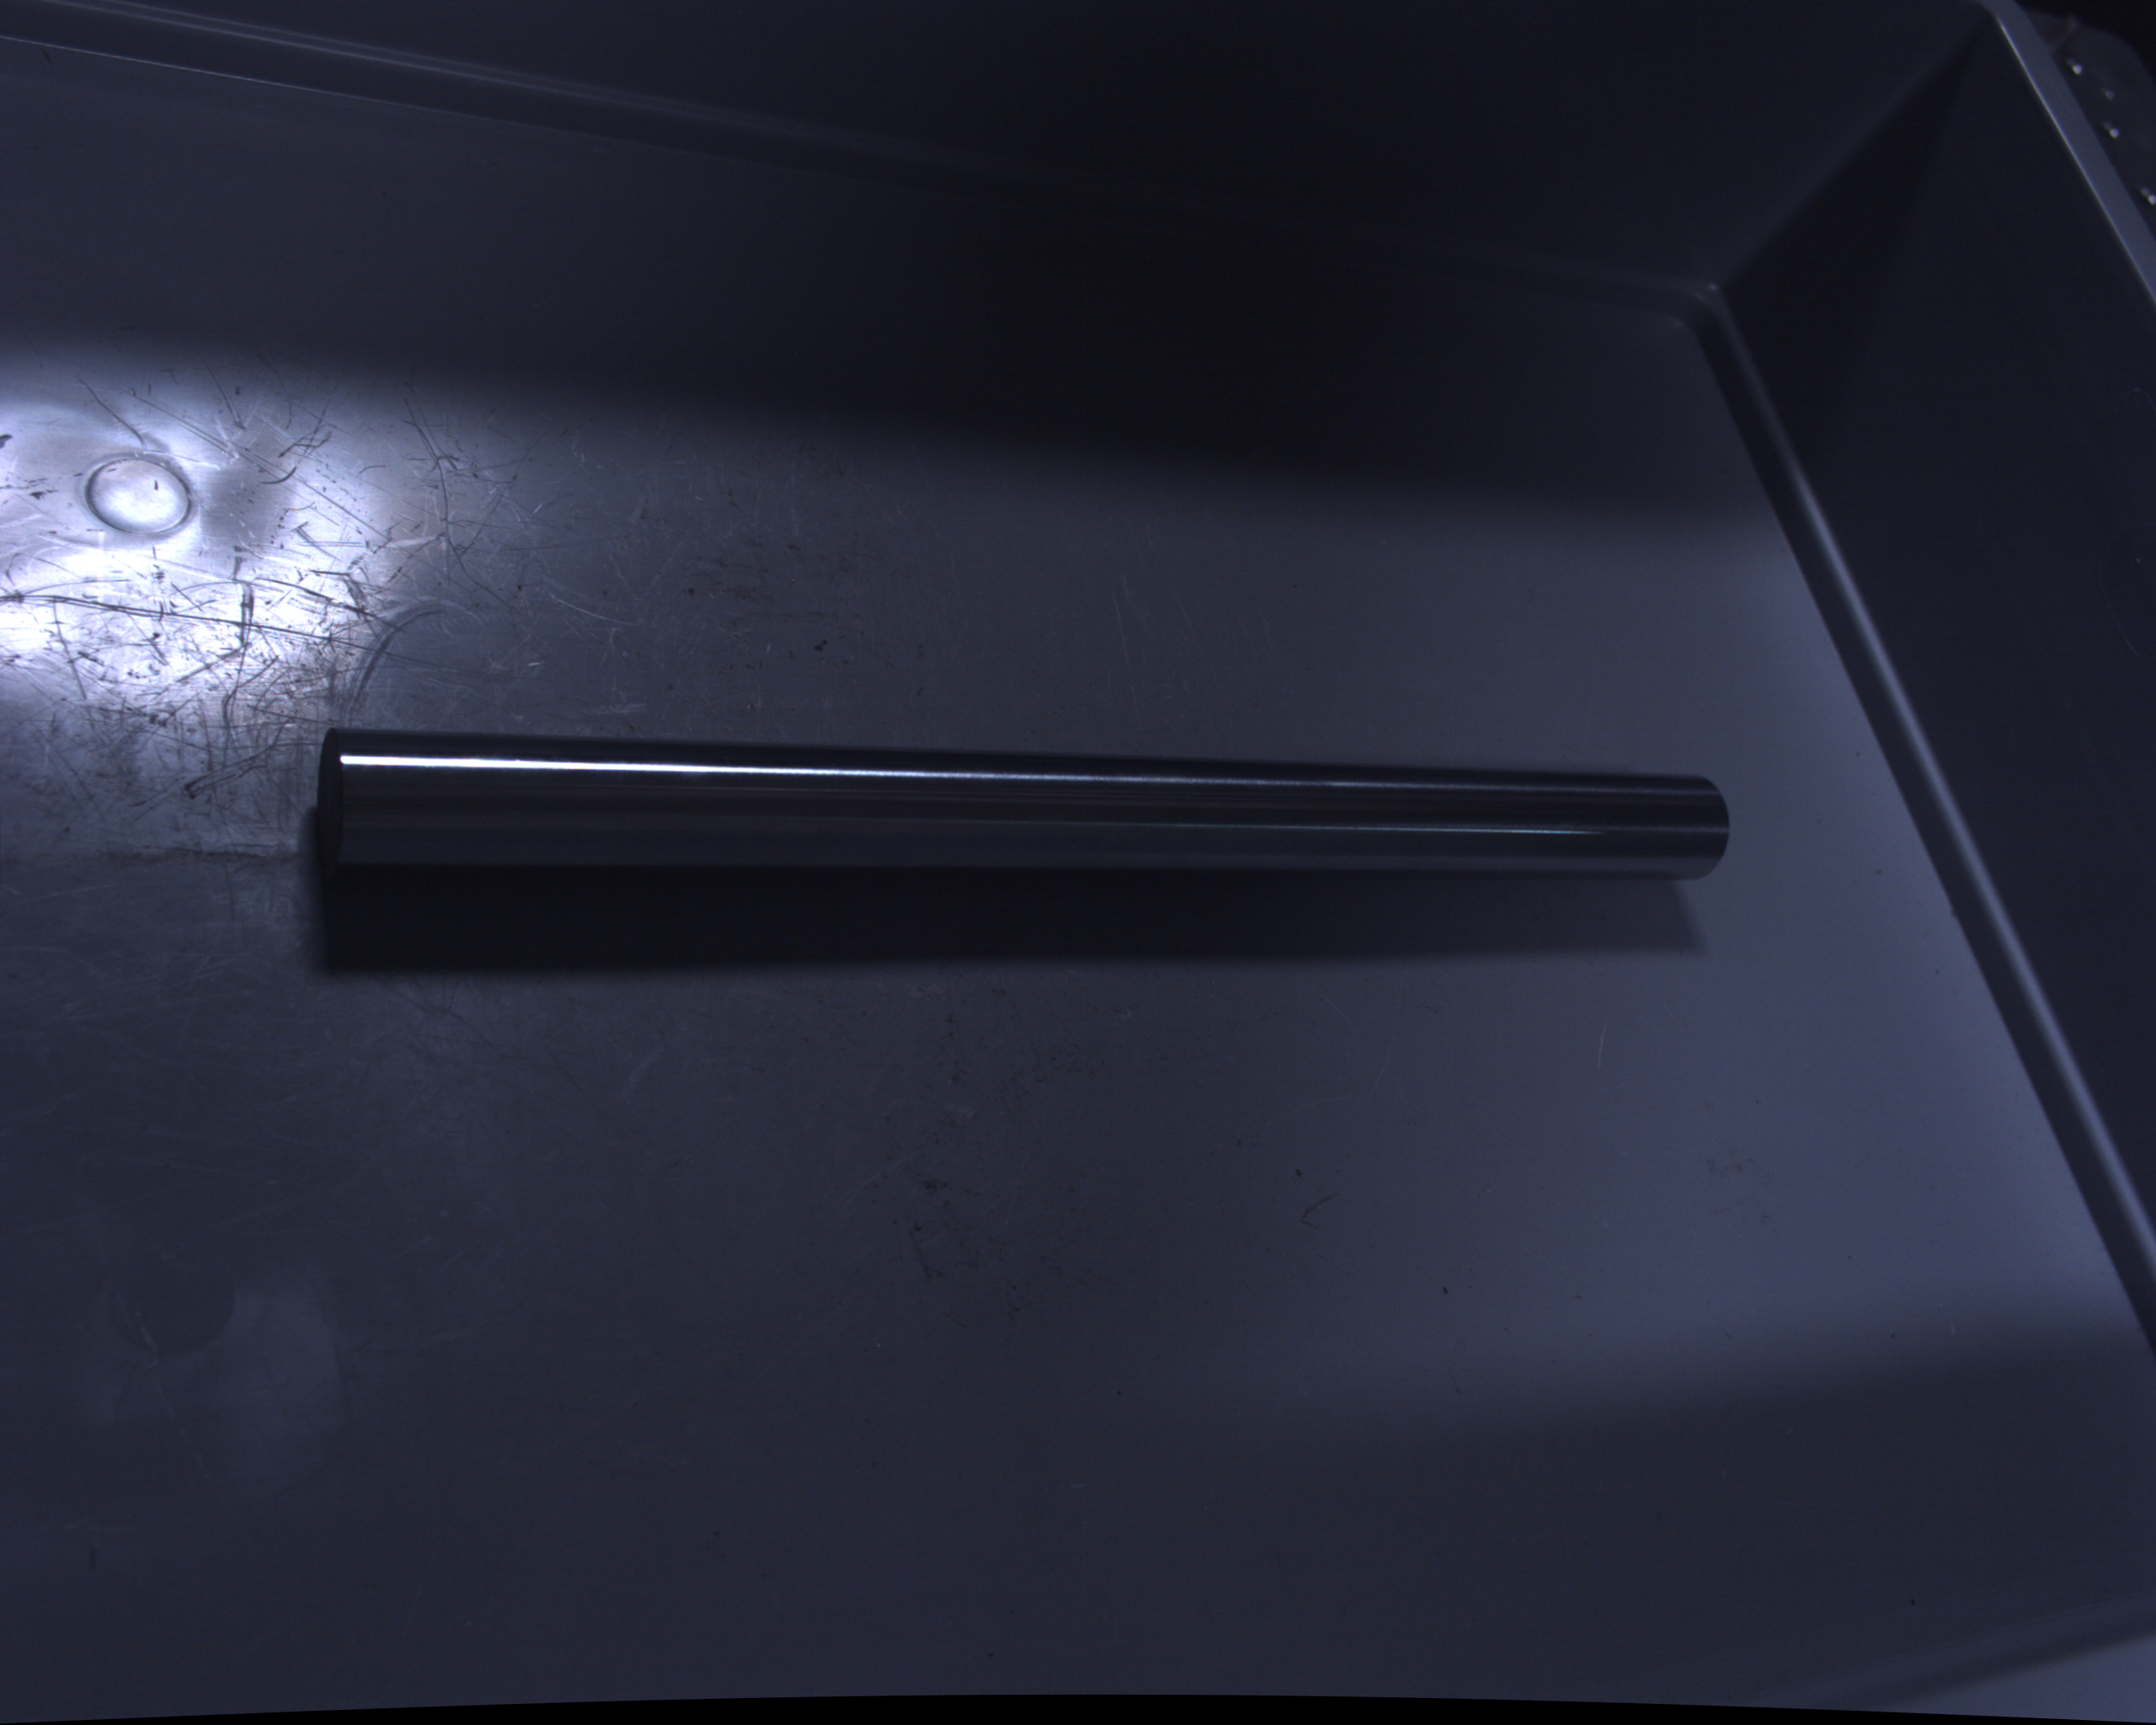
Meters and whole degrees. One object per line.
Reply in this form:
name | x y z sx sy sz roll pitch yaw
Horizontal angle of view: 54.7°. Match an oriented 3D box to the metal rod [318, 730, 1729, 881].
metal rod | 0.010 -0.009 0.415 0.303 0.025 0.025 0 62 -28
